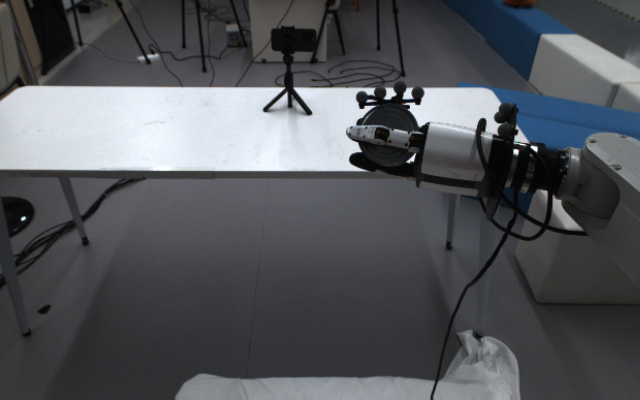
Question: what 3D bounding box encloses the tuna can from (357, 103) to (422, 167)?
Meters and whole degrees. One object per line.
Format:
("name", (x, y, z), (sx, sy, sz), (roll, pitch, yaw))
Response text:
("tuna can", (0.098, -0.092, 0.686), (0.085, 0.085, 0.034), (15, 1, 18))
